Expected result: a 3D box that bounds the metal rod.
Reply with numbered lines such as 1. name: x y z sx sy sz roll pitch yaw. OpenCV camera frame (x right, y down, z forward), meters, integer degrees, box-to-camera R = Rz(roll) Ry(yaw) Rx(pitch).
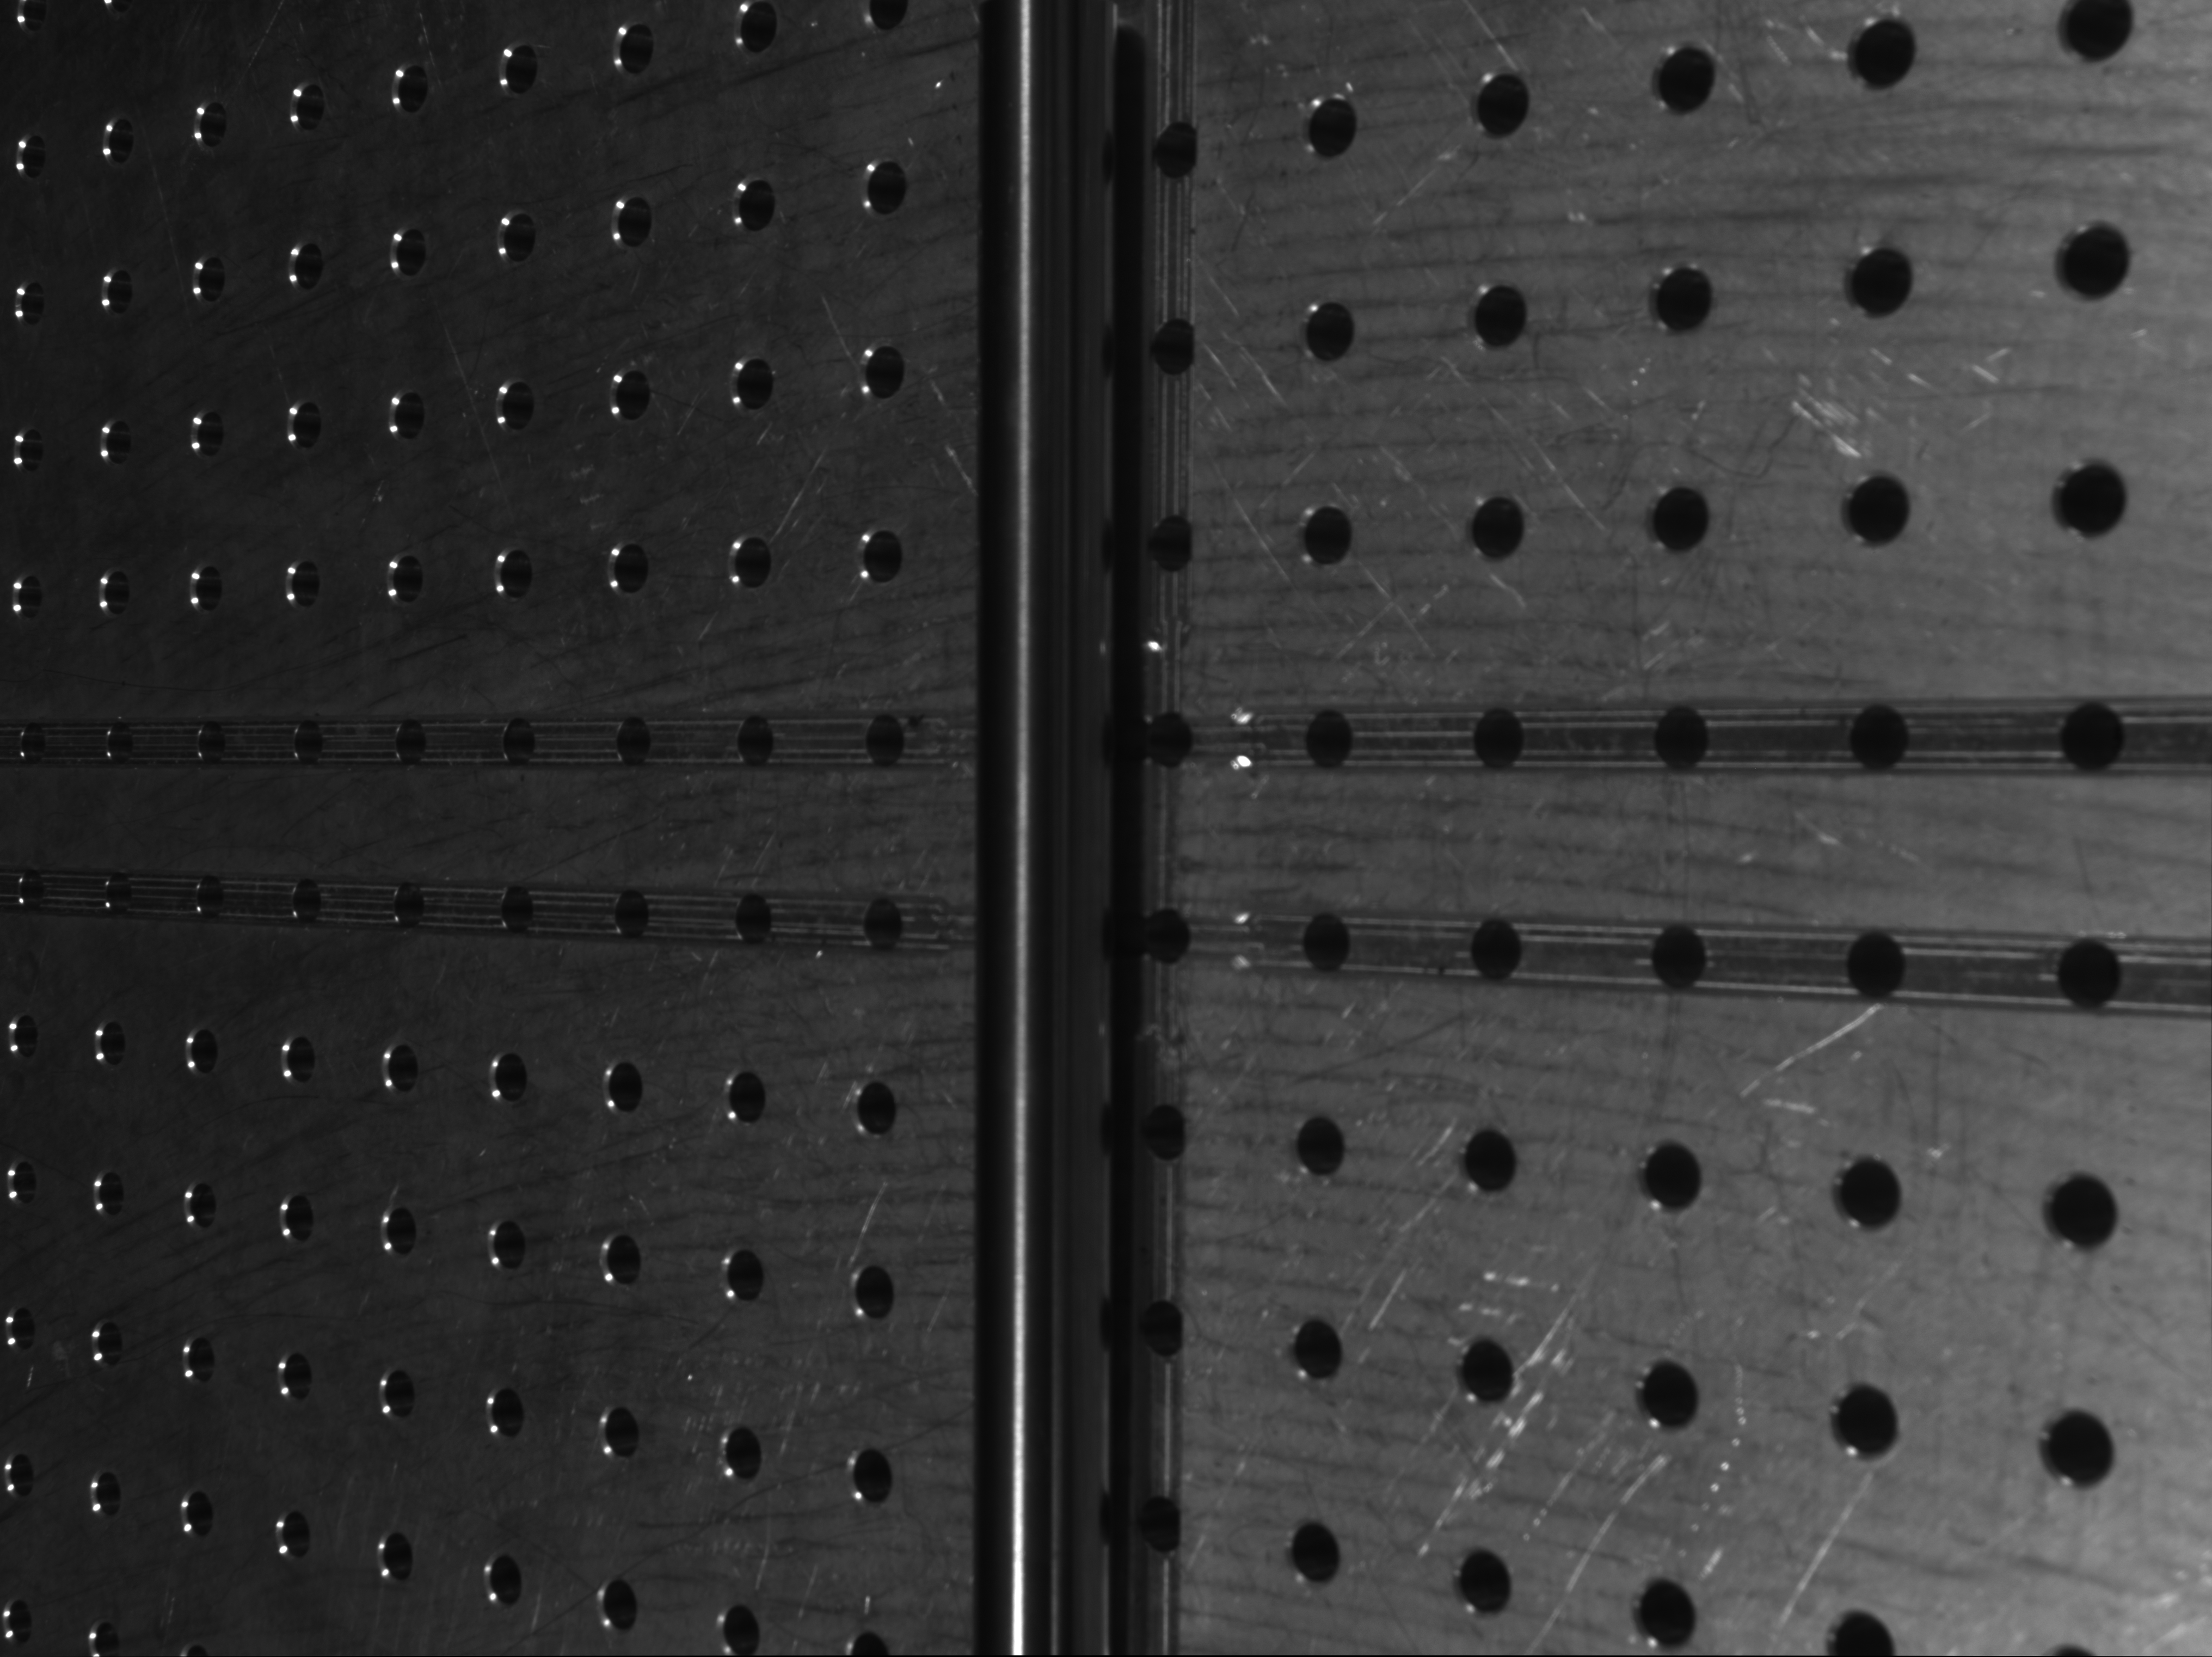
1. metal rod: -0.016 0.004 0.652 0.025 0.025 0.300 0 90 39
